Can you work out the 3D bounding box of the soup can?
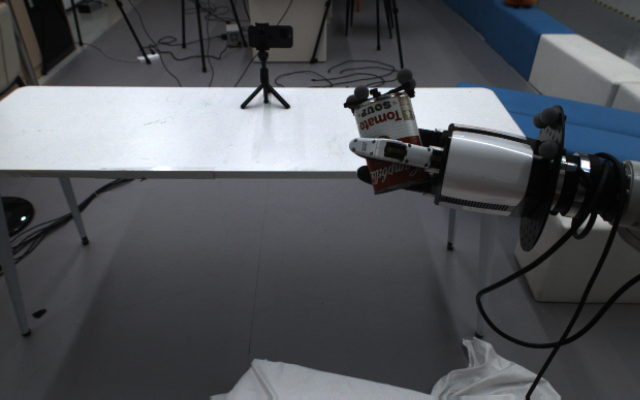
[{"bbox_3d":[0.084,-0.064,0.558,0.067,0.101,0.067,-14,-2,-1],"label":"soup can"}]
